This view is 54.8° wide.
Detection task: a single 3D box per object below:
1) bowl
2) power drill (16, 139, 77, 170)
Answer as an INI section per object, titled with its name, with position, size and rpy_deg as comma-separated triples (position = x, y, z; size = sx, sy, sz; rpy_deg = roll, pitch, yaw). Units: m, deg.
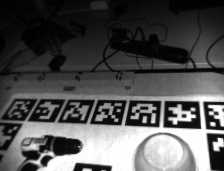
[bowl]
position = 0.116, 0.168, 0.531
size = 0.161, 0.055, 0.161
rpy_deg = -10, 36, 8
[power drill]
position = -0.198, 0.223, 0.550
size = 0.183, 0.058, 0.186
rpy_deg = 1, 43, 12
